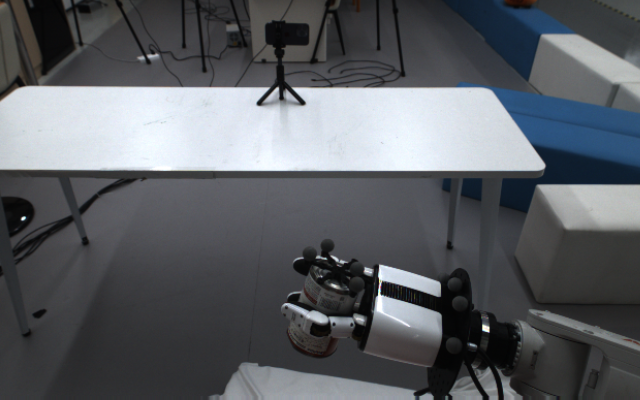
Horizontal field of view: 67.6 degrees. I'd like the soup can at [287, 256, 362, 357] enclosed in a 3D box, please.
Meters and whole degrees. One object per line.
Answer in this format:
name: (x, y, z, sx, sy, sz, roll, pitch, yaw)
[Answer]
soup can: (0.007, 0.134, 0.600, 0.067, 0.101, 0.067, 17, 22, -7)
